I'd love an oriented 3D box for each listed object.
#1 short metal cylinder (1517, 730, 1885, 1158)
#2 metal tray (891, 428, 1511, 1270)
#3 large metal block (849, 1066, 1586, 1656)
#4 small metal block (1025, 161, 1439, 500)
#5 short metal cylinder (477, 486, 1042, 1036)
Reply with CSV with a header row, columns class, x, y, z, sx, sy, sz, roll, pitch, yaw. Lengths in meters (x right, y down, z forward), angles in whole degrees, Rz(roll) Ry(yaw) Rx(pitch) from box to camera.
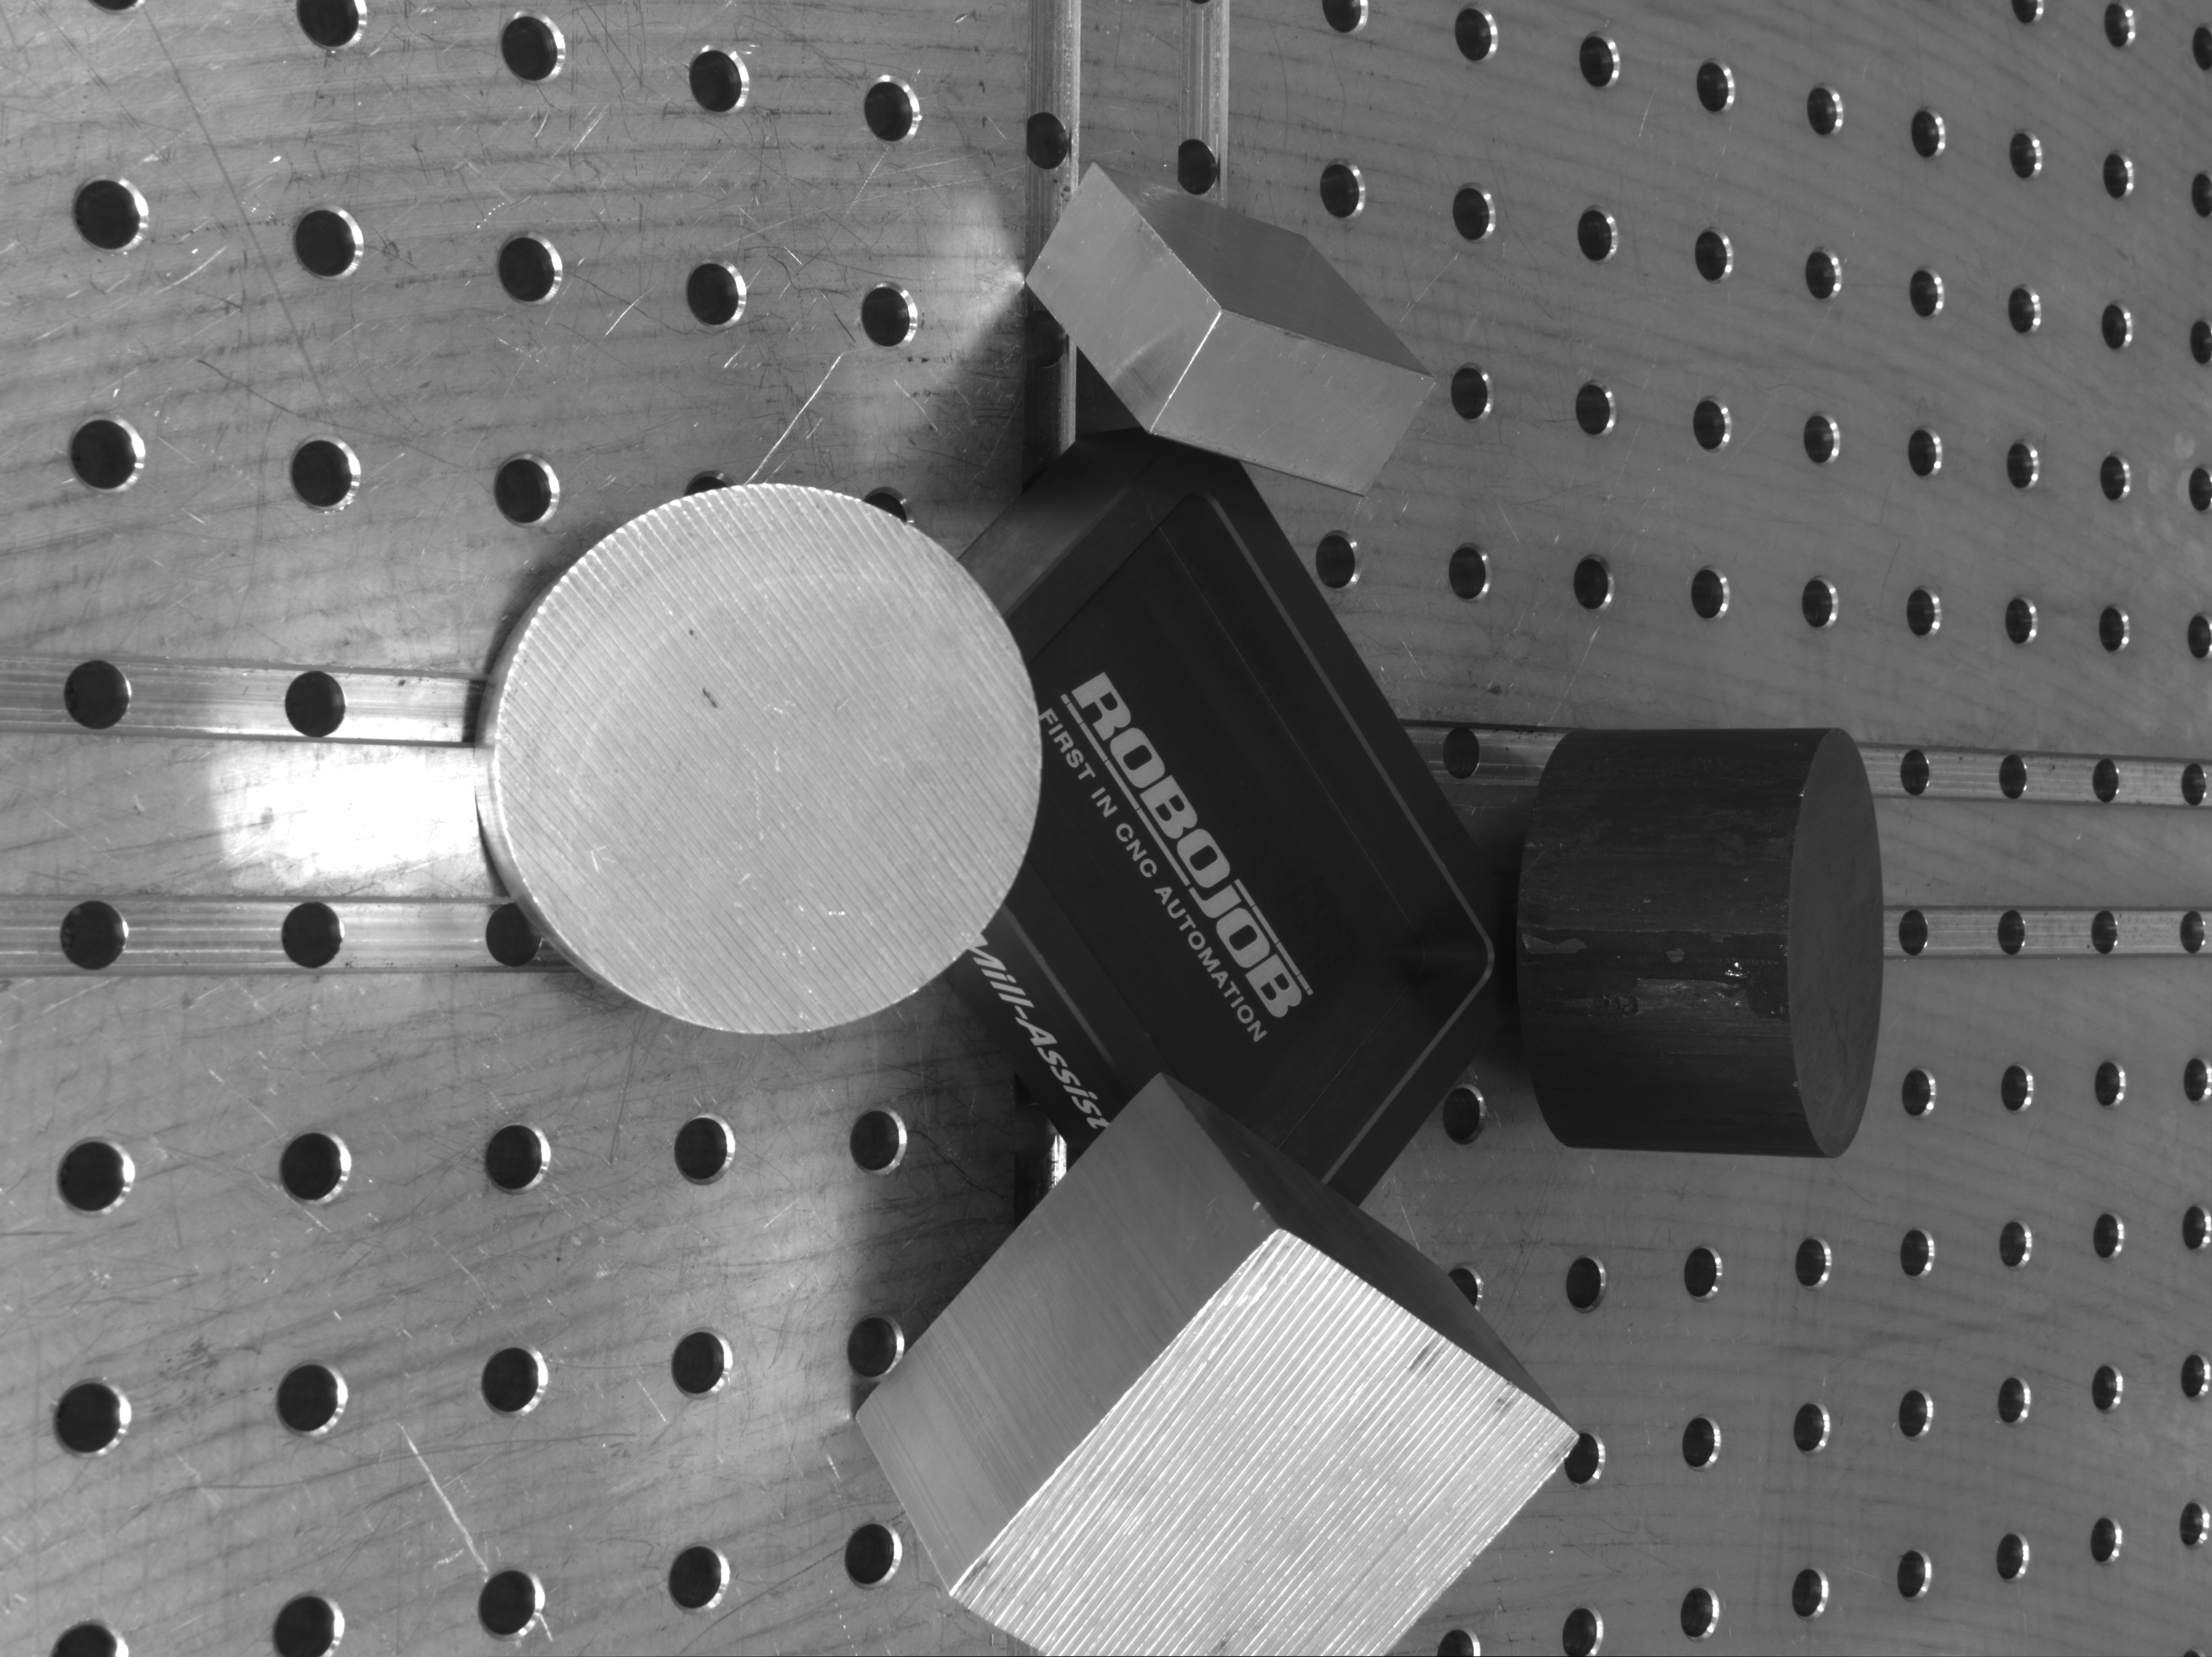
class,x,y,z,sx,sy,sz,roll,pitch,yaw
short metal cylinder,0.114,0.021,0.698,0.080,0.050,0.080,0,90,-66
metal tray,0.015,0.005,0.648,0.090,0.030,0.130,-49,119,-29
large metal block,0.018,0.101,0.616,0.080,0.050,0.080,-48,124,6
small metal block,0.022,-0.086,0.638,0.050,0.050,0.025,12,120,-39
short metal cylinder,-0.054,-0.010,0.559,0.080,0.050,0.080,0,90,-14
